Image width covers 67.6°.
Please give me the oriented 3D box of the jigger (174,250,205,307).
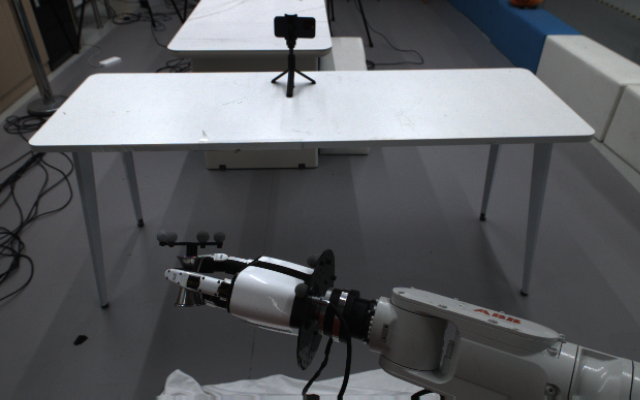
[{"bbox_3d":[-0.181,0.113,0.678,0.043,0.071,0.043,0,-5,0],"label":"jigger"}]
